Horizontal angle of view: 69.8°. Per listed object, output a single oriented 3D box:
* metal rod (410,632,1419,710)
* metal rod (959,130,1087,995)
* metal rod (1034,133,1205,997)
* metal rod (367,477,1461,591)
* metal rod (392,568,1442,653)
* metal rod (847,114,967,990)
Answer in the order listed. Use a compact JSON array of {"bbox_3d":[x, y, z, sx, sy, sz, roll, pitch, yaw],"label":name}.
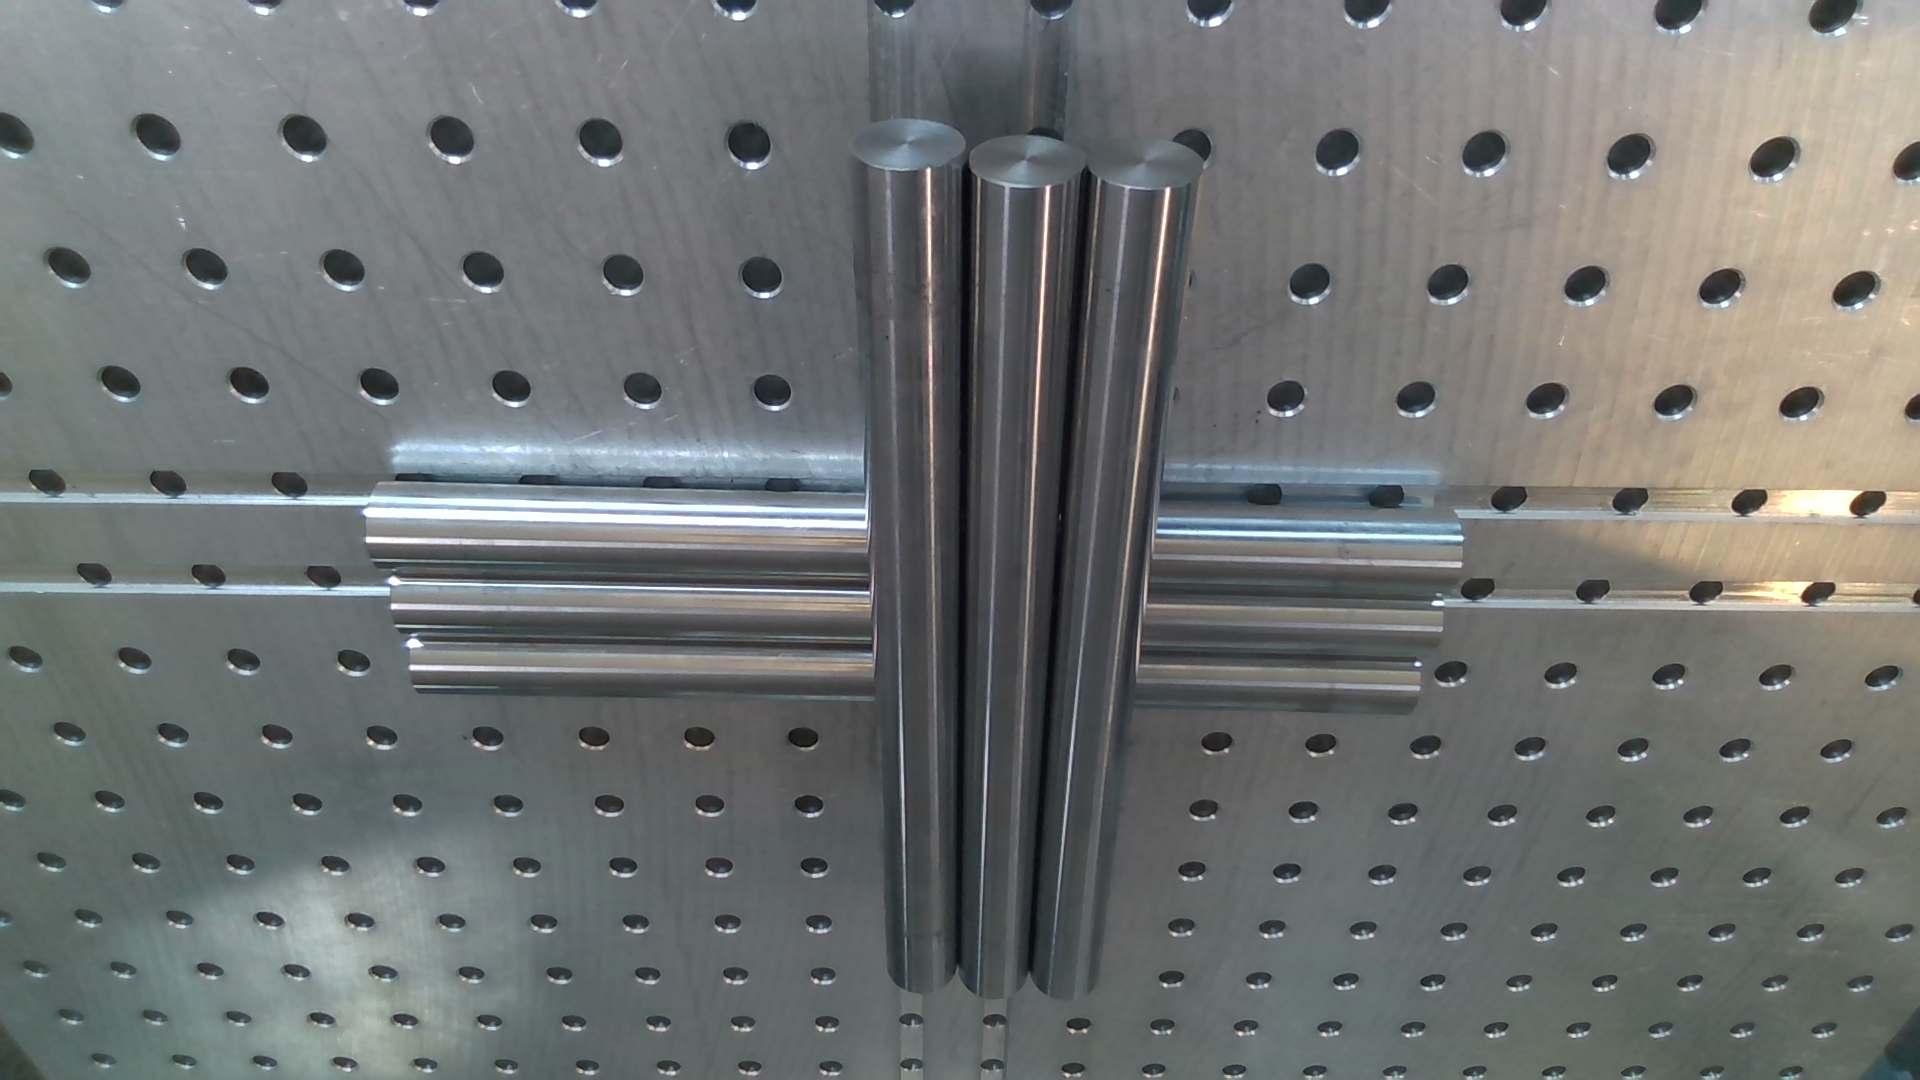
[{"bbox_3d":[-0.013,0.037,0.422,0.300,0.025,0.025,1,130,-1],"label":"metal rod"},{"bbox_3d":[0.013,0.034,0.387,0.025,0.025,0.301,0,130,0],"label":"metal rod"},{"bbox_3d":[0.038,0.034,0.387,0.025,0.025,0.301,0,130,0],"label":"metal rod"},{"bbox_3d":[-0.012,-0.001,0.390,0.300,0.025,0.025,1,130,-1],"label":"metal rod"},{"bbox_3d":[-0.011,0.017,0.406,0.300,0.025,0.025,1,130,-1],"label":"metal rod"},{"bbox_3d":[-0.012,0.031,0.385,0.025,0.025,0.301,0,130,0],"label":"metal rod"}]
